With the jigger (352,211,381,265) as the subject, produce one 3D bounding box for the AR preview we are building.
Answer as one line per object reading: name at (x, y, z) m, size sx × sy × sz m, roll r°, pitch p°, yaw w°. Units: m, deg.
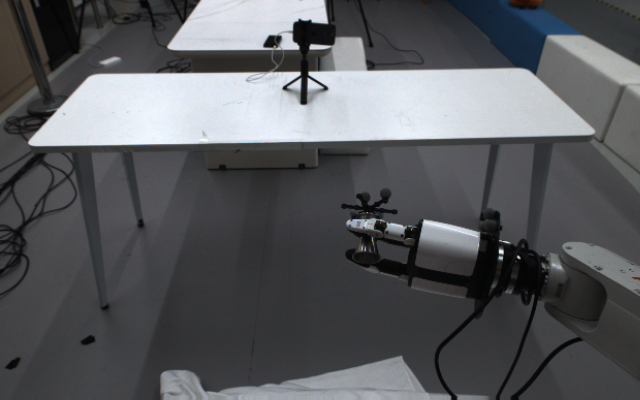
jigger at (0.071, 0.057, 0.744) m, size 0.043 × 0.043 × 0.071 m, roll 5°, pitch 61°, yaw 4°
